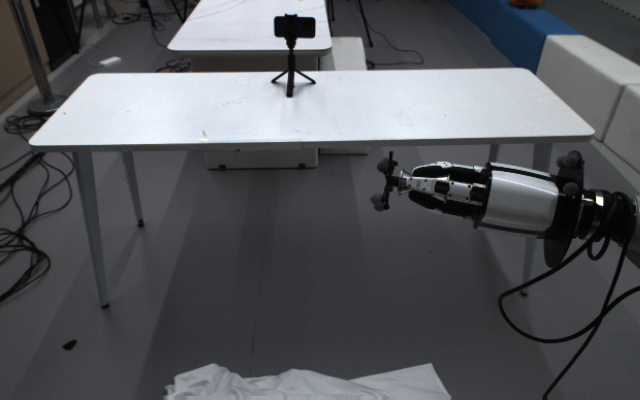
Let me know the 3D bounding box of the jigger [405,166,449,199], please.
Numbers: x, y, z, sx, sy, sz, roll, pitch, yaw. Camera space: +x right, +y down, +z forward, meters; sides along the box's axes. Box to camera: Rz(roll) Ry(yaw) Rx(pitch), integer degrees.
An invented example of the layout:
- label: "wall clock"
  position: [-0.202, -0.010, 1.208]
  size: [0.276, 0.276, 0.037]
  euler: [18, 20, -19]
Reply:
- label: "jigger"
  position: [0.155, -0.026, 0.693]
  size: [0.071, 0.043, 0.043]
  euler: [8, 35, 16]
